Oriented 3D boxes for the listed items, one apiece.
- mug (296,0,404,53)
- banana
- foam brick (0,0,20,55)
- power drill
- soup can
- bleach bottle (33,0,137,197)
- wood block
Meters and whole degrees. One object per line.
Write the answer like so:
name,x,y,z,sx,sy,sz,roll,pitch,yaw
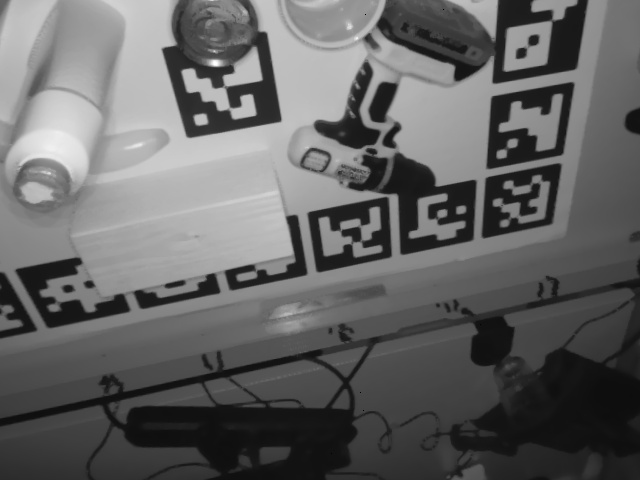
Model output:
mug,0.027,-0.232,0.608,0.094,0.082,0.116,29,114,-28
banana,-0.228,-0.093,0.683,0.199,0.039,0.073,3,113,-14
foam brick,-0.282,-0.189,0.573,0.053,0.078,0.050,17,125,-27
power drill,0.083,-0.141,0.719,0.186,0.057,0.184,15,124,-20
soup can,-0.077,-0.200,0.588,0.068,0.102,0.067,-6,133,-6
bleach bottle,-0.186,-0.113,0.543,0.068,0.252,0.101,14,125,-23
wood block,-0.137,-0.025,0.731,0.207,0.091,0.089,-11,129,-5
